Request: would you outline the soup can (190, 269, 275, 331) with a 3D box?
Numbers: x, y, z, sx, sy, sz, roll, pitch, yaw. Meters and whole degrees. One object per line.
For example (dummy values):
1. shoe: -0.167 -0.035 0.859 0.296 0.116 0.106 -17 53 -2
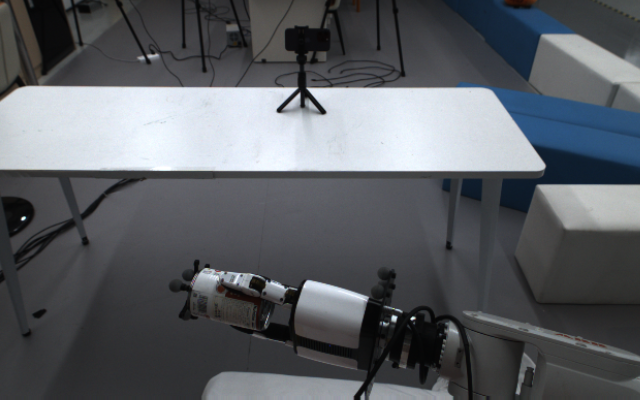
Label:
1. soup can: -0.113 0.133 0.647 0.101 0.067 0.067 9 35 10
